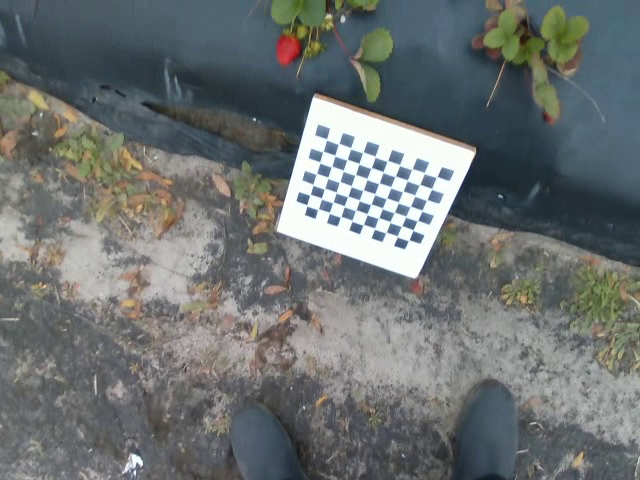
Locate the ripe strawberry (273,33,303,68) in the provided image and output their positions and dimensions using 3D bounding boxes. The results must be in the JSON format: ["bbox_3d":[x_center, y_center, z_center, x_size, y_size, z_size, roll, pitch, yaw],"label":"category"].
[{"bbox_3d":[-0.021,-0.094,0.354,0.018,0.017,0.014,19,-10,-3],"label":"ripe strawberry"}]
